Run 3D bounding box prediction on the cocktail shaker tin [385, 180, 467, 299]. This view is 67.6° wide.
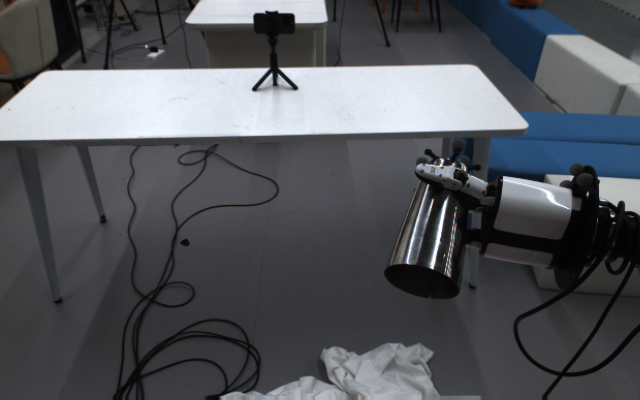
[{"bbox_3d":[0.149,0.028,0.628,0.093,0.093,0.170,13,59,16],"label":"cocktail shaker tin"}]
